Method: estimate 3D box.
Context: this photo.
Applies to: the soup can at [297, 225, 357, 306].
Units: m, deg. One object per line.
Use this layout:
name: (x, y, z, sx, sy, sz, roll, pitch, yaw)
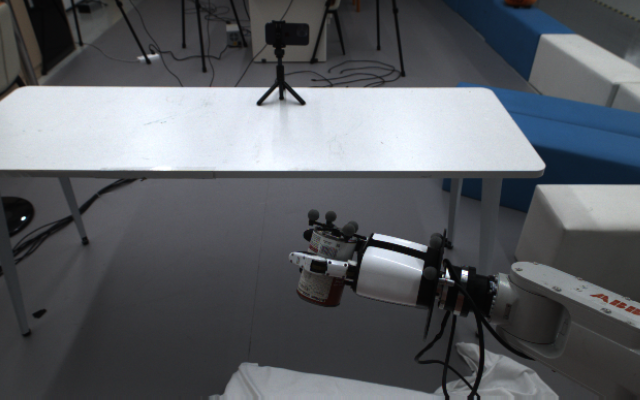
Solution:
soup can: (0.012, 0.097, 0.708, 0.067, 0.101, 0.067, 15, 7, -2)
